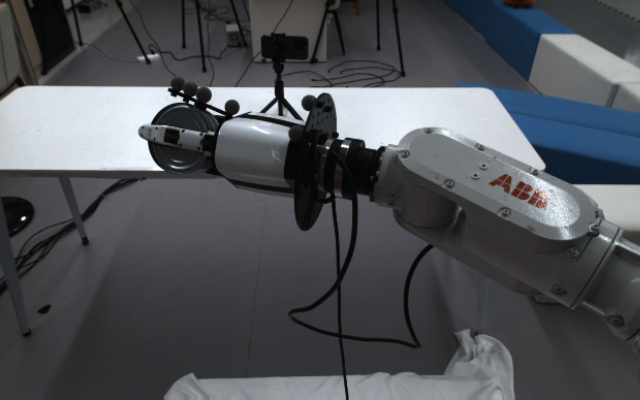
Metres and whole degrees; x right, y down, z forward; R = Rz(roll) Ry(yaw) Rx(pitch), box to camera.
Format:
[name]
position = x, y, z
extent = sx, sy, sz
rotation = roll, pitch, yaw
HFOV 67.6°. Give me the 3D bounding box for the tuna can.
[tuna can]
position = -0.161, -0.073, 0.588
extent = 0.085, 0.085, 0.034
rotation = 13, 3, 16
